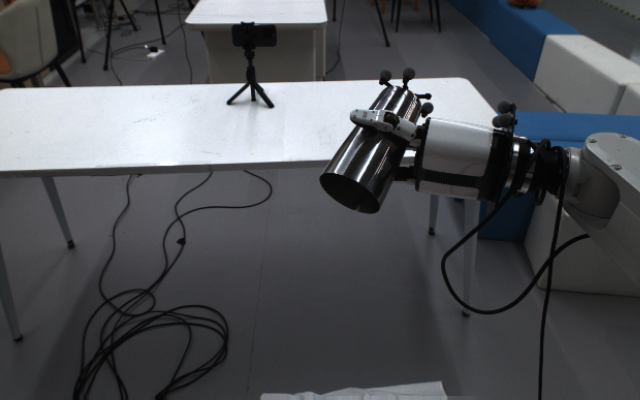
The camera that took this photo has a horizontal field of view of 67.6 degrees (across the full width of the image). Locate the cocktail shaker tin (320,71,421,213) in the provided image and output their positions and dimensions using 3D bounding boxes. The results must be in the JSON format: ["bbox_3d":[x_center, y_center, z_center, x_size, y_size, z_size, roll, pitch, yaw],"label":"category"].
[{"bbox_3d":[0.081,-0.081,0.678,0.093,0.093,0.170,20,67,24],"label":"cocktail shaker tin"}]
